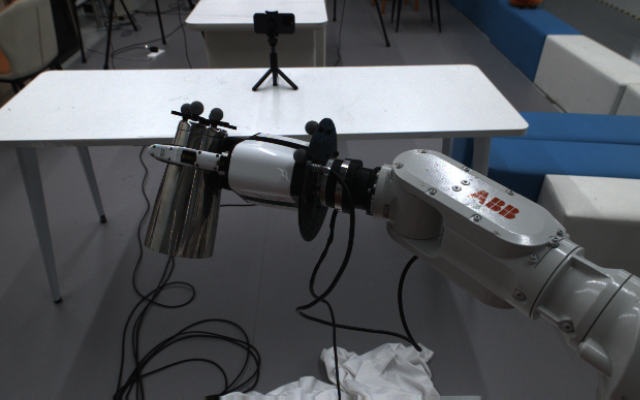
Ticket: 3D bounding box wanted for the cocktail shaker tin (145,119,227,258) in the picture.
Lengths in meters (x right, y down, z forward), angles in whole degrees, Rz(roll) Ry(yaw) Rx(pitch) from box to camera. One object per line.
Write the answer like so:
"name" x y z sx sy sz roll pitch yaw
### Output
"cocktail shaker tin" -0.173 -0.017 0.655 0.093 0.170 0.093 13 3 -1
